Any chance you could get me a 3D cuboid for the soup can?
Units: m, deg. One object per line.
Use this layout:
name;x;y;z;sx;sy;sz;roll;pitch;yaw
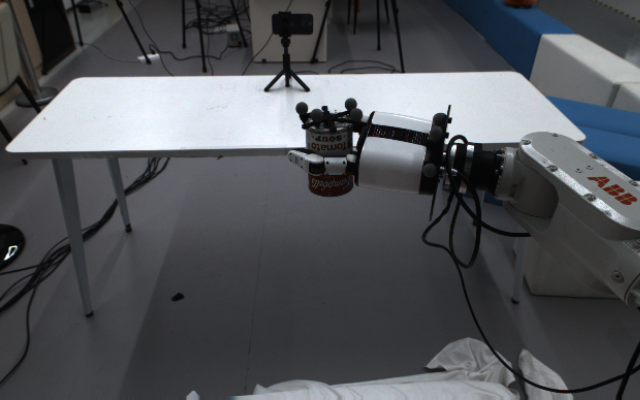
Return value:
soup can;0.015;-0.065;0.691;0.067;0.101;0.067;-2;32;1
